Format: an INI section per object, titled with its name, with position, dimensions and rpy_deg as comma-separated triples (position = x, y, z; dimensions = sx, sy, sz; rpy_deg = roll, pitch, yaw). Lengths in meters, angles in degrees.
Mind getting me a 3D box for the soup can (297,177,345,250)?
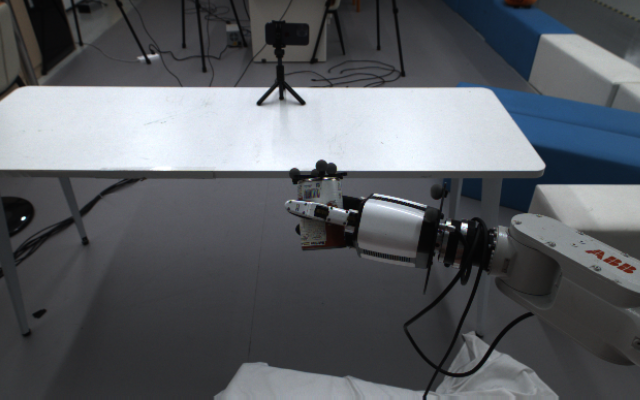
[soup can]
position = 0.004, 0.022, 0.710
dimensions = 0.067, 0.101, 0.067
rpy_deg = -5, -5, 0
